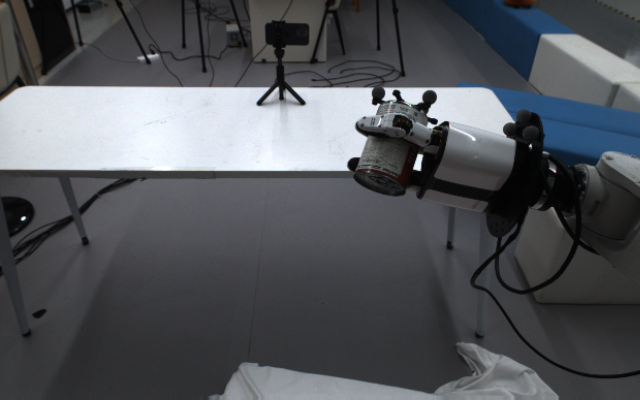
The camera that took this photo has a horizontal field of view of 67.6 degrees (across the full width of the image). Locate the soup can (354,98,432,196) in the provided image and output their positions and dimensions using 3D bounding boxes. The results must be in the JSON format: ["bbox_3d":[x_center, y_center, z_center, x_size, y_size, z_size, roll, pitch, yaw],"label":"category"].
[{"bbox_3d":[0.091,-0.065,0.608,0.067,0.067,0.101,15,75,18],"label":"soup can"}]
